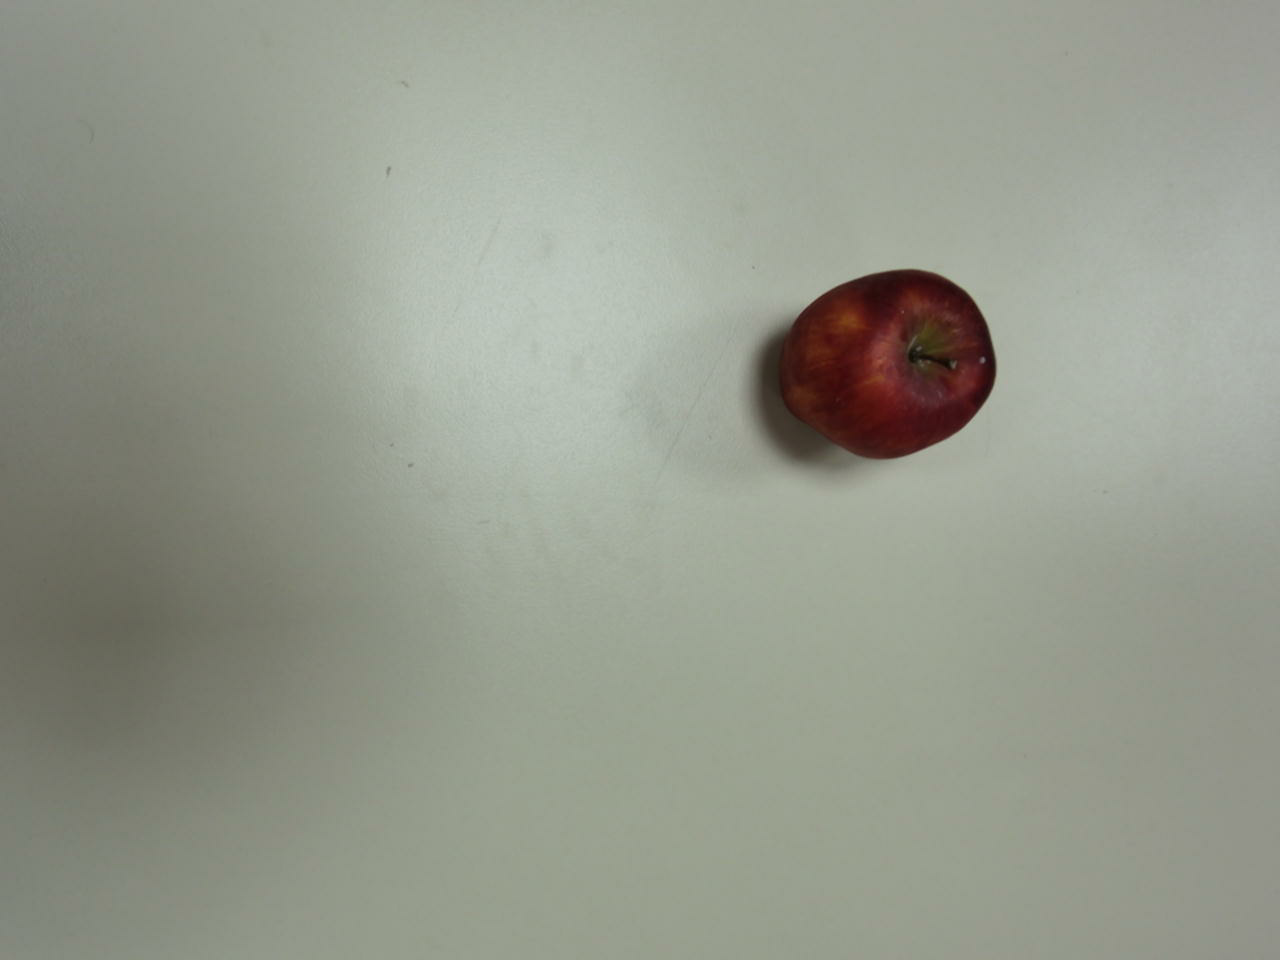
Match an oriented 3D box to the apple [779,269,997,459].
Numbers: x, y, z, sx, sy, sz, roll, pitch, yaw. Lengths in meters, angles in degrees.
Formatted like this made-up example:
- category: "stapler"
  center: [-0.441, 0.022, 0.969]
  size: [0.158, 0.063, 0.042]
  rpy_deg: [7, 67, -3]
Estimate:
- category: "apple"
  center: [0.102, -0.048, 0.410]
  size: [0.083, 0.090, 0.083]
  rpy_deg: [0, 90, -11]
